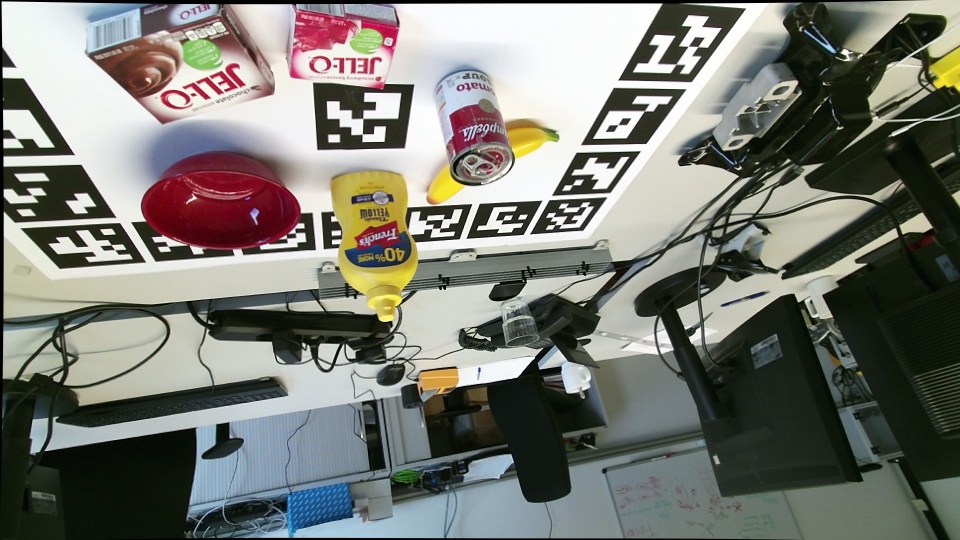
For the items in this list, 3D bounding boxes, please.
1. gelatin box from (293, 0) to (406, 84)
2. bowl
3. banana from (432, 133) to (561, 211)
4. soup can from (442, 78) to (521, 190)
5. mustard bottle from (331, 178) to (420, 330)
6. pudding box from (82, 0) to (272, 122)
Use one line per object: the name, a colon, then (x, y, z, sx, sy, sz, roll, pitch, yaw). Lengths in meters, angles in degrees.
gelatin box: (-0.119, -0.208, 0.480, 0.090, 0.030, 0.073, -3, 149, -24)
bowl: (-0.301, -0.084, 0.620, 0.162, 0.055, 0.162, -12, 155, -6)
banana: (0.006, -0.128, 0.695, 0.198, 0.038, 0.074, -27, 162, 26)
soup can: (0.000, -0.142, 0.569, 0.068, 0.101, 0.068, -9, 155, -4)
mustard bottle: (-0.124, -0.019, 0.650, 0.096, 0.190, 0.058, -5, 156, -17)
pudding box: (-0.254, -0.178, 0.462, 0.114, 0.038, 0.090, -16, 149, 5)
